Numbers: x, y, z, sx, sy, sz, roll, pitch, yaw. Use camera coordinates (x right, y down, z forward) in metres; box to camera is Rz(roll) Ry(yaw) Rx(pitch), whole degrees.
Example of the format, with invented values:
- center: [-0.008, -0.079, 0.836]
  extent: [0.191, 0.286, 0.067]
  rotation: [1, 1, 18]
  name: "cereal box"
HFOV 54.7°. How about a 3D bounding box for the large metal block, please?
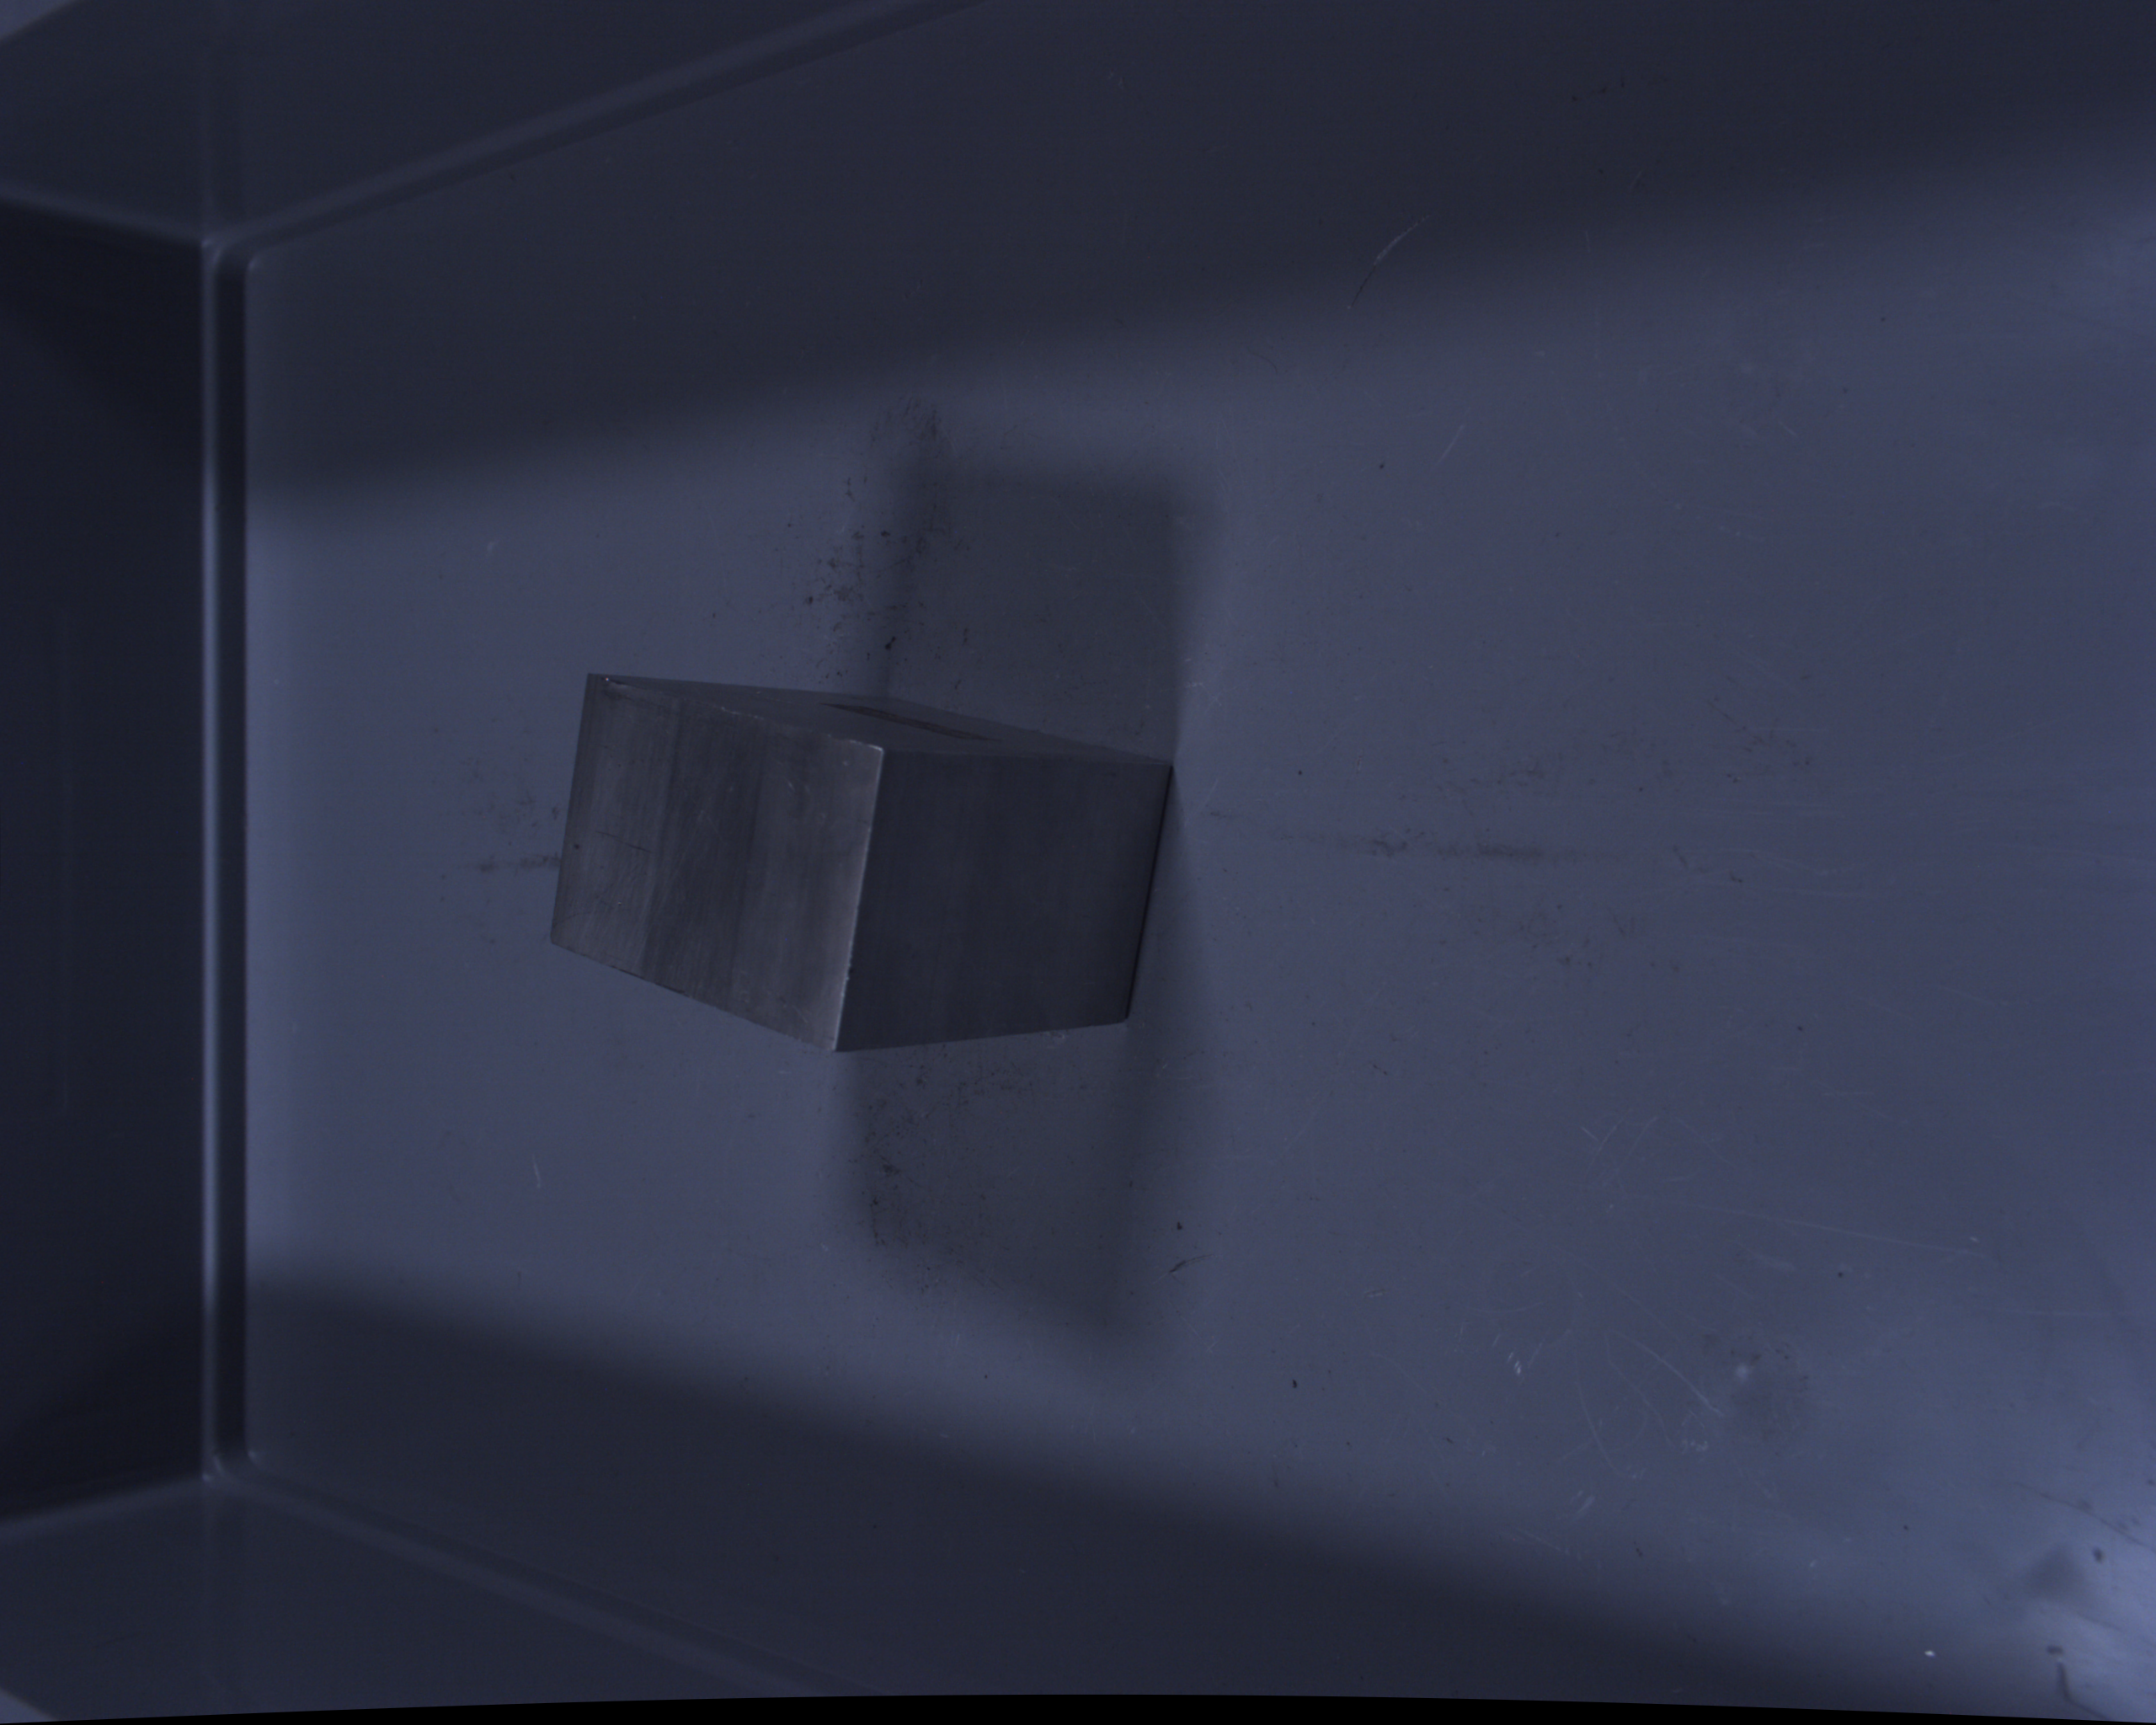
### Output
- center: [-0.041, -0.002, 0.399]
  extent: [0.080, 0.081, 0.050]
  rotation: [16, 100, 38]
  name: "large metal block"
